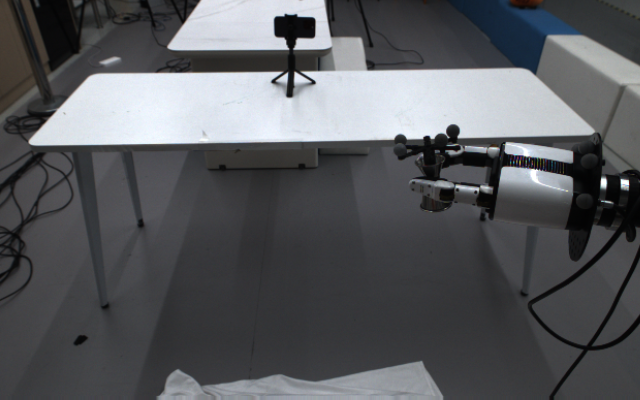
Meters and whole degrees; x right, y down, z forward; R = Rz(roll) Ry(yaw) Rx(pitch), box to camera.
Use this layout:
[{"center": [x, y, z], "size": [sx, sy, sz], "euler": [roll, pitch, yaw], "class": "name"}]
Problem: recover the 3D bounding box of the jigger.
[{"center": [0.153, -0.024, 0.658], "size": [0.043, 0.071, 0.043], "euler": [-11, 24, 5], "class": "jigger"}]
